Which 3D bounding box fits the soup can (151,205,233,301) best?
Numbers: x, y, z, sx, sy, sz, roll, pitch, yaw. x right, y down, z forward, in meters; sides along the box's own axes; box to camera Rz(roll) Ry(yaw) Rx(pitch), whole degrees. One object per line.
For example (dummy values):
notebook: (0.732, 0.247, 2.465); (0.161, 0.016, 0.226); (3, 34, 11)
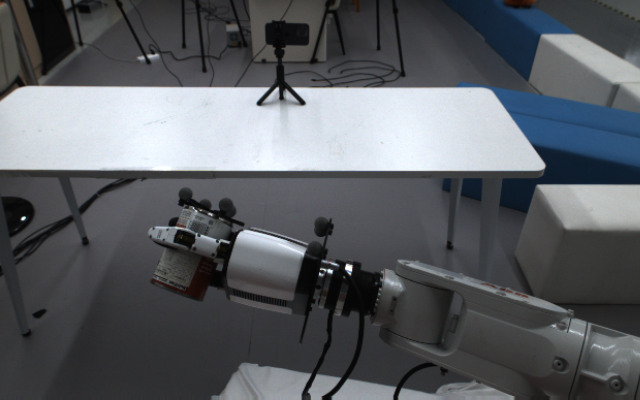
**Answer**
soup can: (-0.155, 0.068, 0.598); (0.067, 0.067, 0.101); (16, 76, 19)
